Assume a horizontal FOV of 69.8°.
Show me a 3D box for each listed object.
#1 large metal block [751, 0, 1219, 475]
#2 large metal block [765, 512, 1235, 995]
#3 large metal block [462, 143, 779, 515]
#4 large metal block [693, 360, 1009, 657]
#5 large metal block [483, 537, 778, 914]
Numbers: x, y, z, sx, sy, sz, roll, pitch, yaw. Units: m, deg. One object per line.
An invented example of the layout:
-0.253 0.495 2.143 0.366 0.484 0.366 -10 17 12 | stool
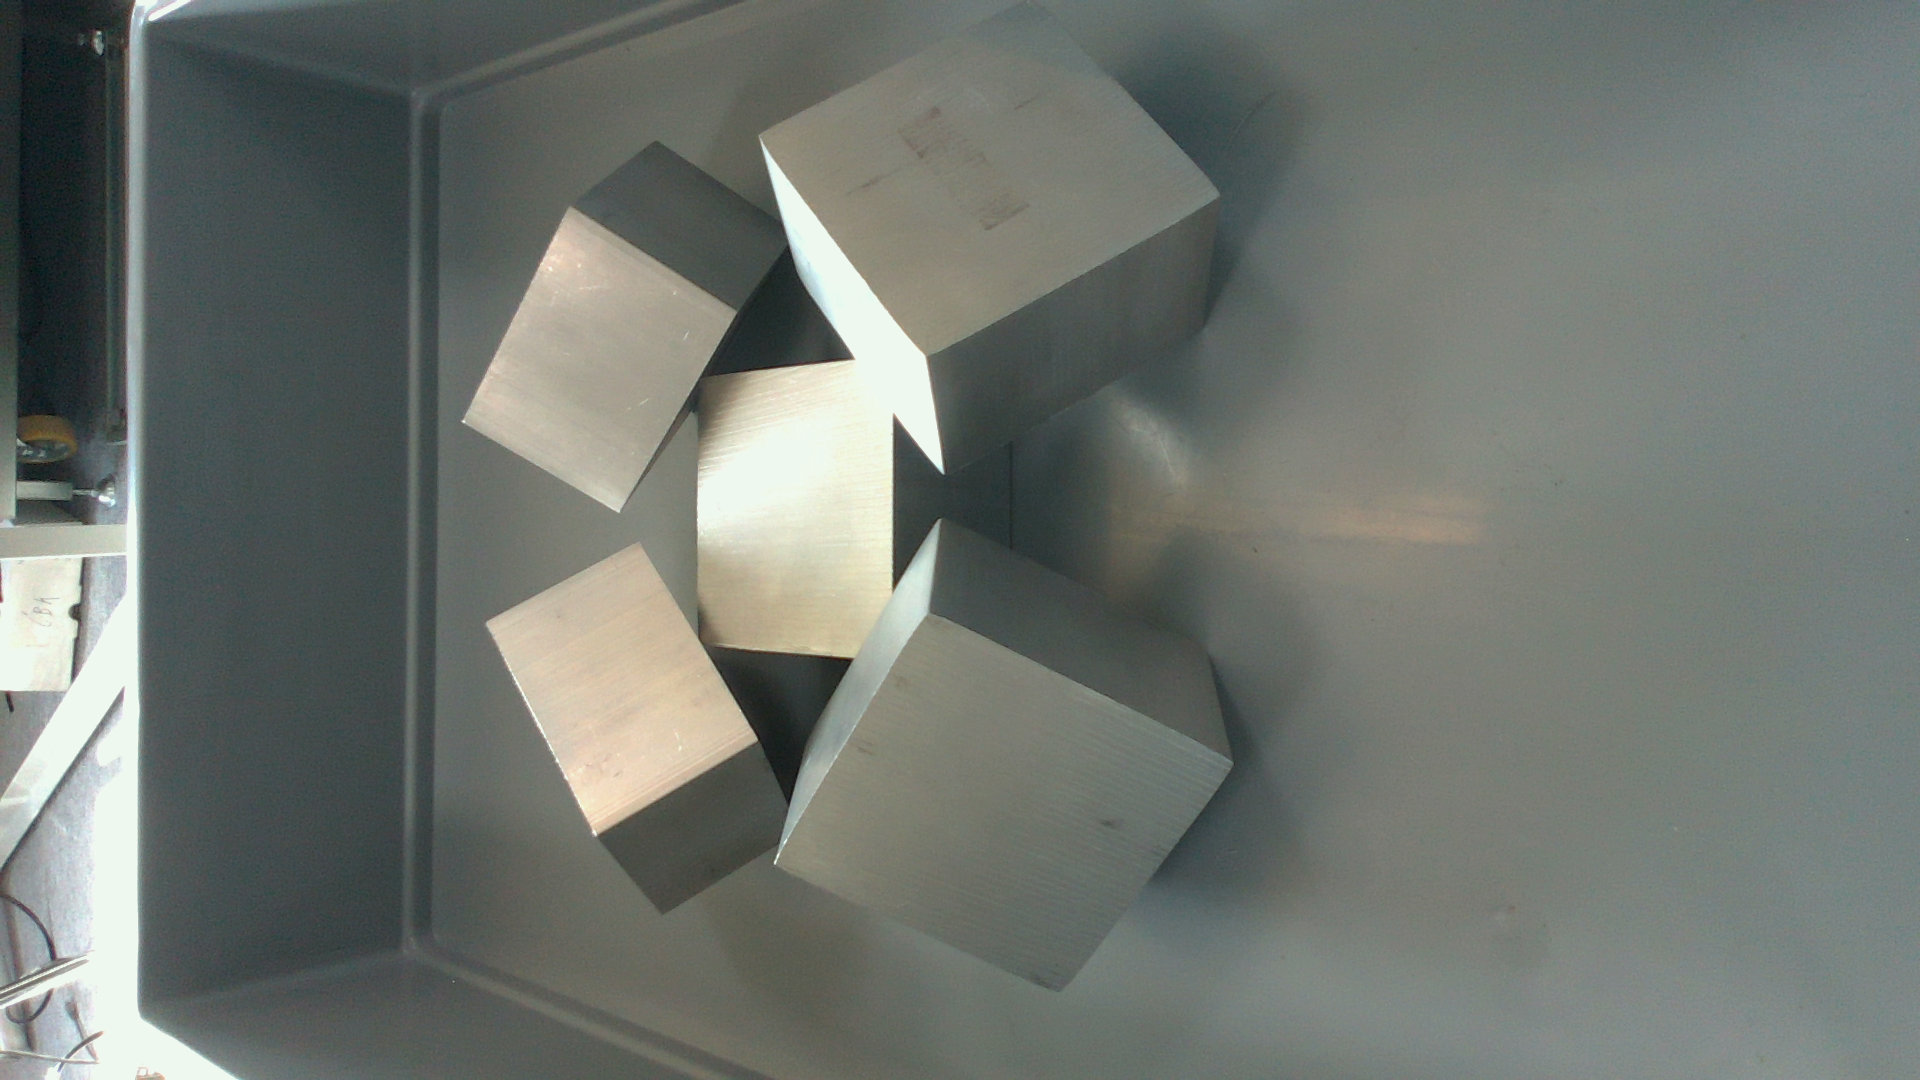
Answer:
0.007 -0.077 0.344 0.080 0.050 0.080 -30 63 -10 | large metal block
0.009 0.053 0.341 0.080 0.050 0.080 27 113 -11 | large metal block
-0.102 -0.068 0.433 0.050 0.080 0.080 31 117 -11 | large metal block
-0.033 -0.009 0.403 0.080 0.050 0.080 1 91 40 | large metal block
-0.097 0.060 0.432 0.080 0.050 0.080 53 165 26 | large metal block
